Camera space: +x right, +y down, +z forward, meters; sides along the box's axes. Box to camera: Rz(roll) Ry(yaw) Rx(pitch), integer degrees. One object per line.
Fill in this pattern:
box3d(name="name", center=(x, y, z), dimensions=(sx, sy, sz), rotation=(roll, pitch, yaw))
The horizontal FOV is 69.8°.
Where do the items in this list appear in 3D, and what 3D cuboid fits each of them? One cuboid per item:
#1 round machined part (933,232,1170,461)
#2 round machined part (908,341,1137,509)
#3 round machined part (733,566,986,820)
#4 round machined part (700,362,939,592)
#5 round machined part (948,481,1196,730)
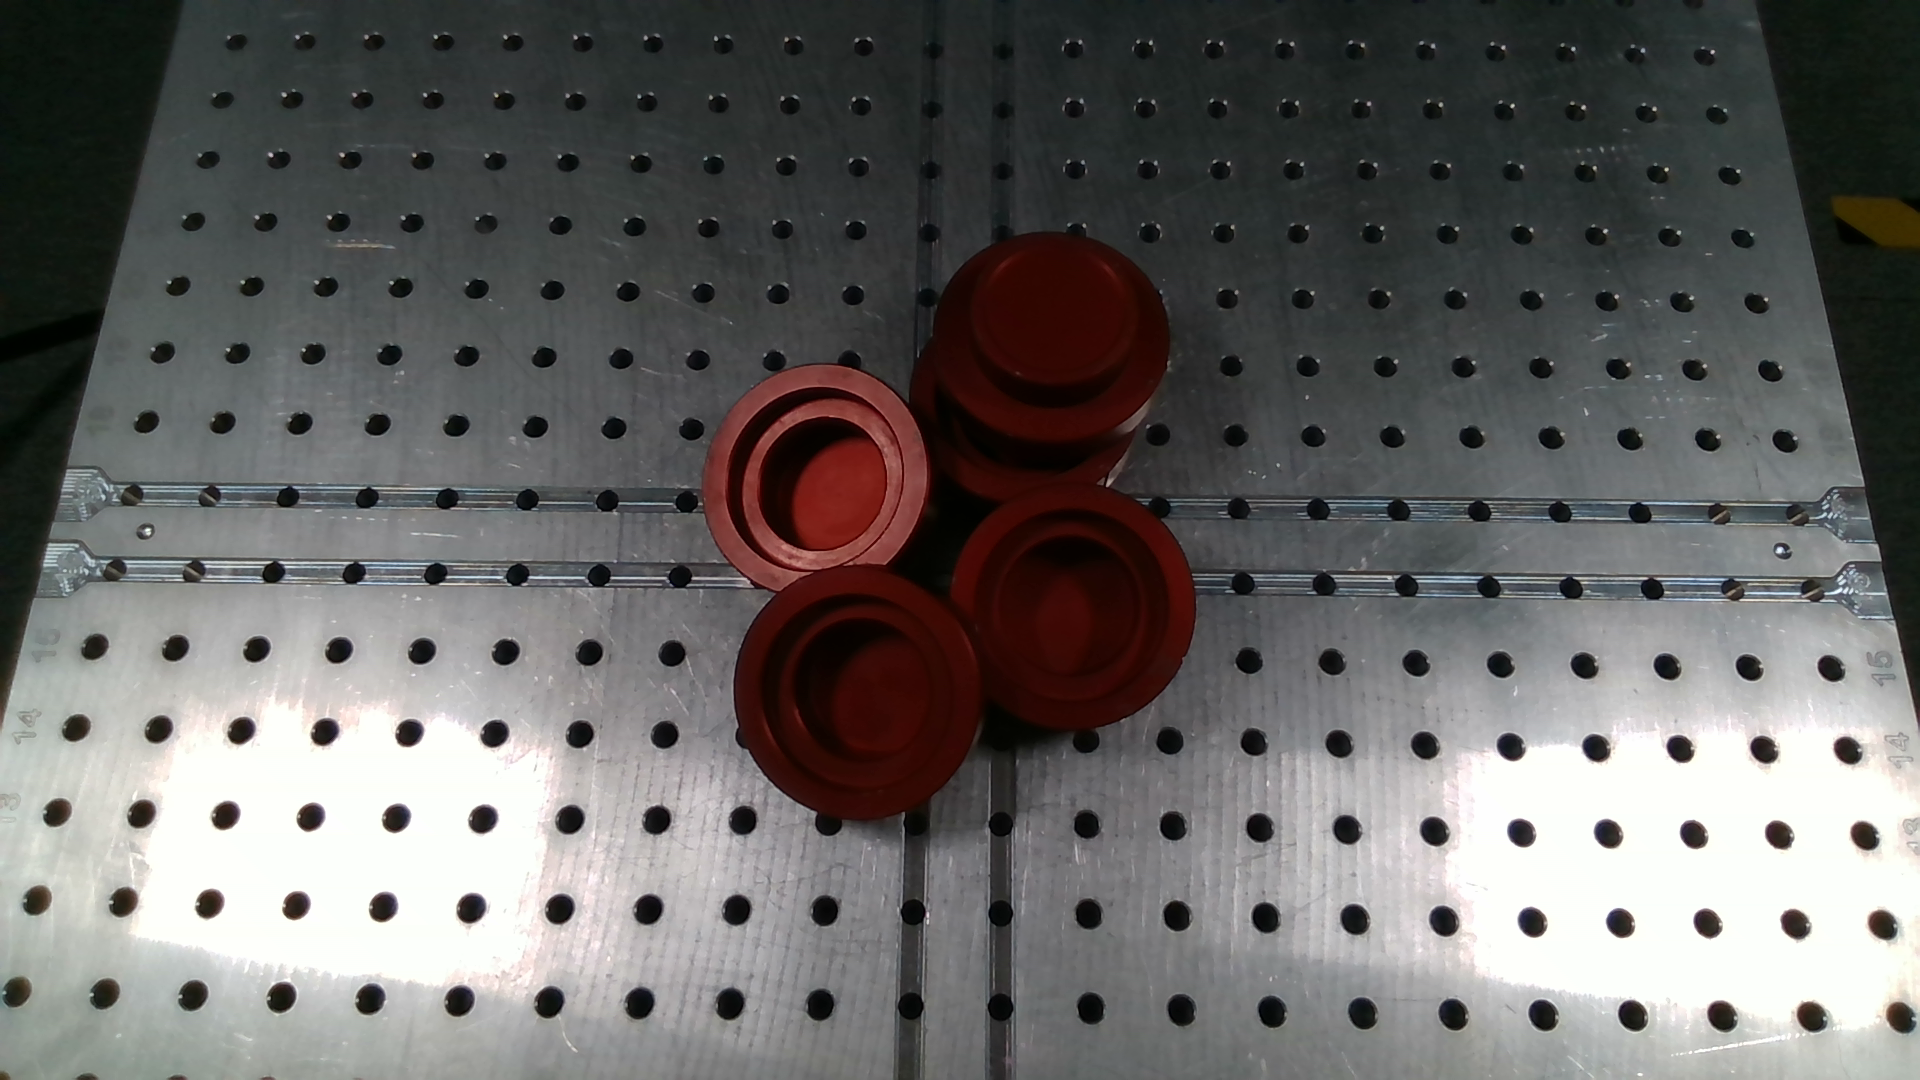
box3d(name="round machined part", center=(0.038, -0.085, 0.567), dimensions=(0.098, 0.042, 0.098), rotation=(0, 70, 0))
box3d(name="round machined part", center=(0.027, -0.054, 0.600), dimensions=(0.098, 0.042, 0.098), rotation=(0, 70, 0))
box3d(name="round machined part", center=(-0.037, 0.059, 0.548), dimensions=(0.098, 0.042, 0.098), rotation=(0, 91, 10))
box3d(name="round machined part", center=(-0.056, -0.022, 0.580), dimensions=(0.098, 0.042, 0.098), rotation=(-2, 80, 14))
box3d(name="round machined part", center=(0.044, 0.027, 0.562), dimensions=(0.098, 0.042, 0.098), rotation=(0, 87, 1))
